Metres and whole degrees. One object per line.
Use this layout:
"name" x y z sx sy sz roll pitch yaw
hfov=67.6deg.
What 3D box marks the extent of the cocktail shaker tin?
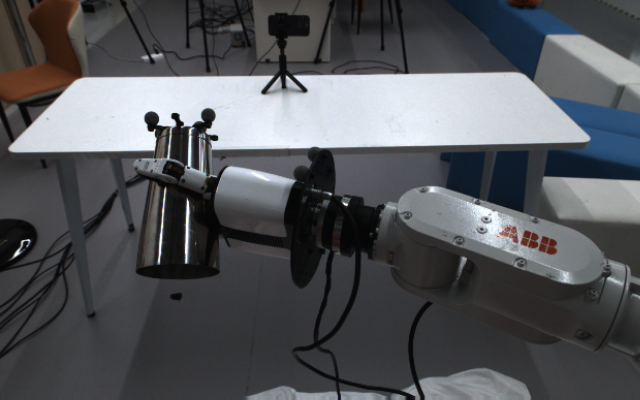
"cocktail shaker tin" -0.165 0.003 0.576 0.093 0.093 0.170 -2 71 -6
